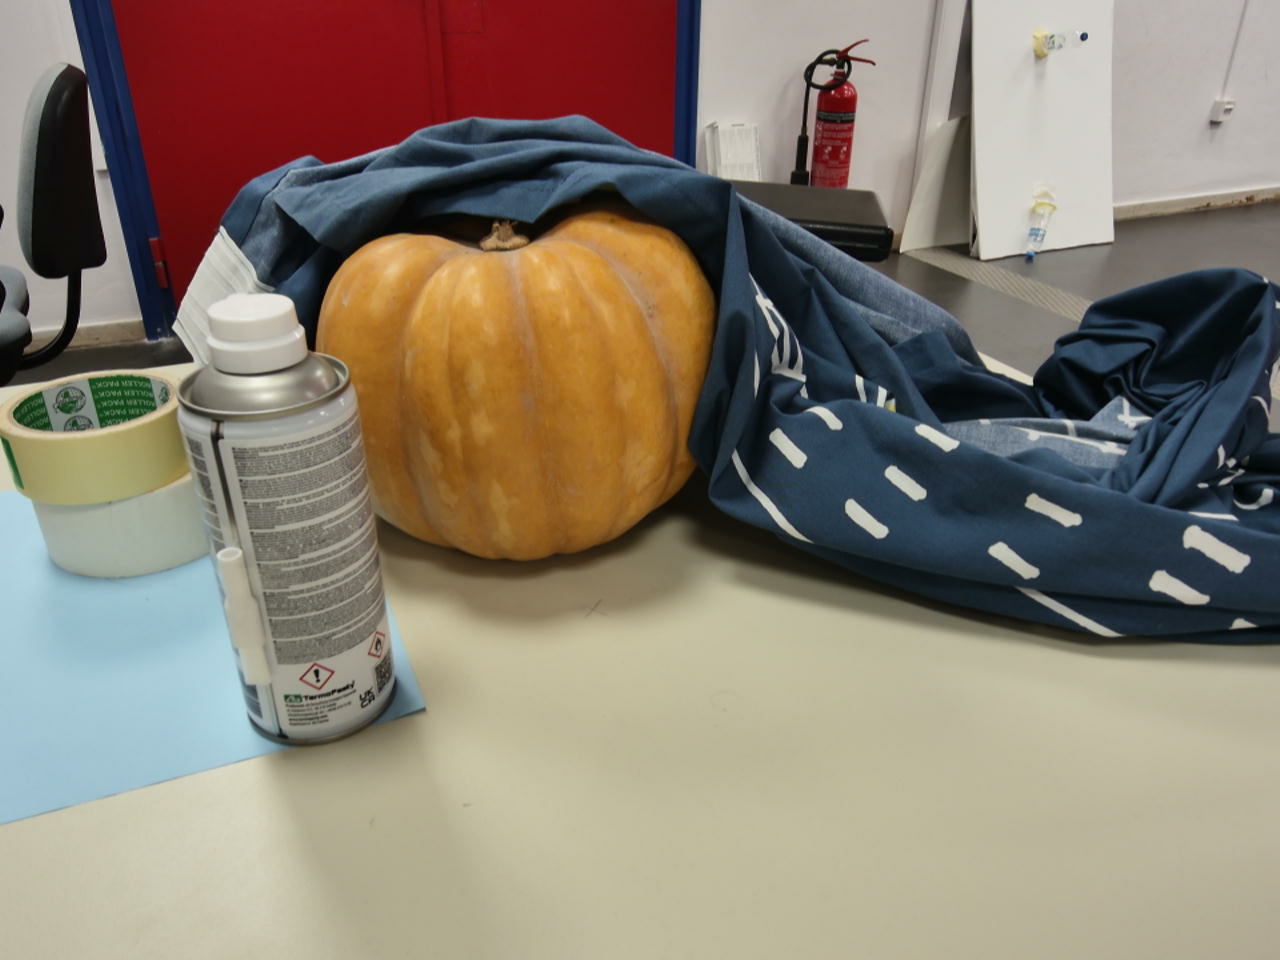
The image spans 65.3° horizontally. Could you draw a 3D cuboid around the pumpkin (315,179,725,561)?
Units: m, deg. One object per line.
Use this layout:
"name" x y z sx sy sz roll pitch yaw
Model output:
"pumpkin" -0.062 -0.062 0.560 0.230 0.194 0.230 0 27 0
